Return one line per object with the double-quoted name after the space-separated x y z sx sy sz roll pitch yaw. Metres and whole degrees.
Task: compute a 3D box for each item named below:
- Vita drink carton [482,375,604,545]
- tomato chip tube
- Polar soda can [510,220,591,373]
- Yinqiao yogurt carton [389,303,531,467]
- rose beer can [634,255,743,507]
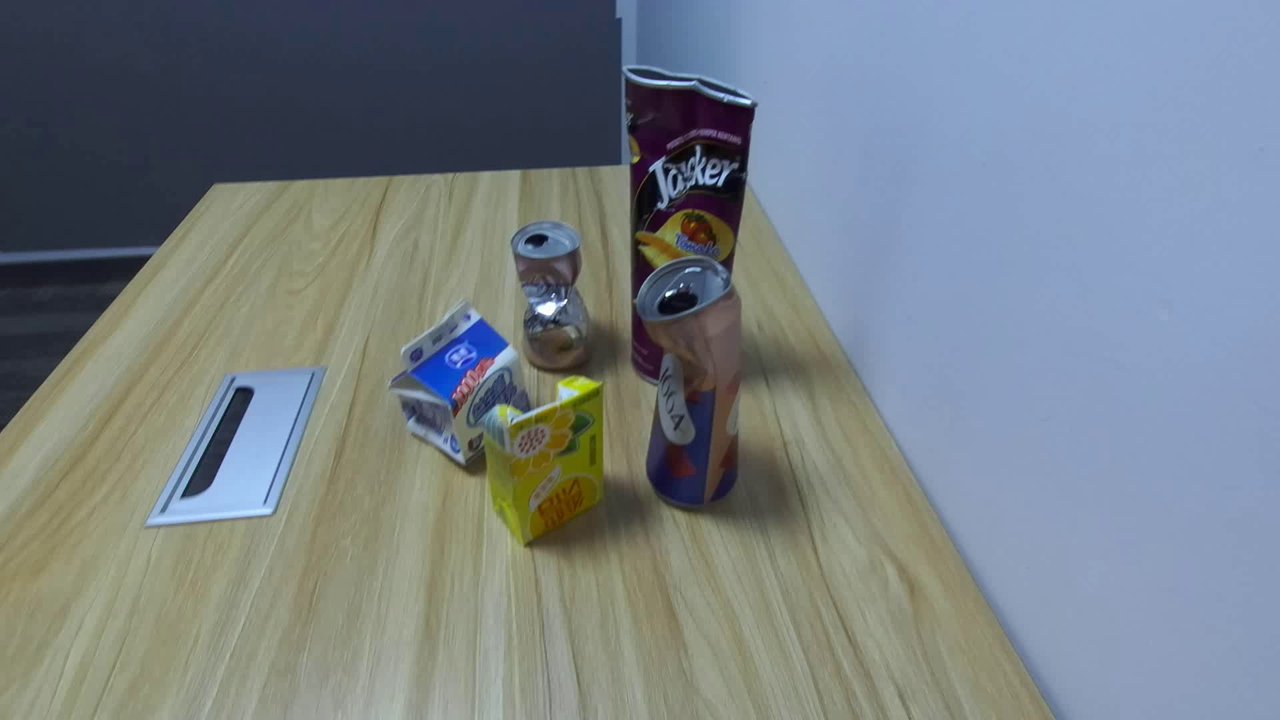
-0.061 0.056 0.451 0.071 0.110 0.046 -24 45 -28 "Vita drink carton"
0.029 -0.091 0.535 0.078 0.236 0.090 -4 40 -5 "tomato chip tube"
-0.072 -0.050 0.585 0.074 0.114 0.070 25 49 33 "Polar soda can"
-0.140 0.012 0.519 0.080 0.097 0.074 14 39 29 "Yinqiao yogurt carton"
0.034 0.020 0.452 0.069 0.168 0.070 19 45 25 "rose beer can"
